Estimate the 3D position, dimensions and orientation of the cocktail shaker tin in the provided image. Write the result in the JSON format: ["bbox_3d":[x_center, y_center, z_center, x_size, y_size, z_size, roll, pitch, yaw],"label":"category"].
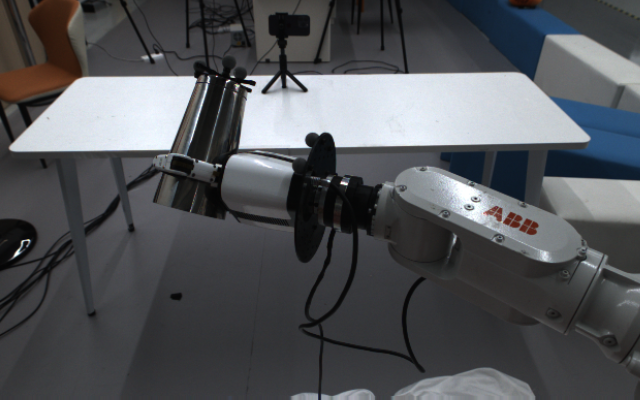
[{"bbox_3d":[-0.147,-0.067,0.621,0.093,0.170,0.093,14,-4,1],"label":"cocktail shaker tin"}]
